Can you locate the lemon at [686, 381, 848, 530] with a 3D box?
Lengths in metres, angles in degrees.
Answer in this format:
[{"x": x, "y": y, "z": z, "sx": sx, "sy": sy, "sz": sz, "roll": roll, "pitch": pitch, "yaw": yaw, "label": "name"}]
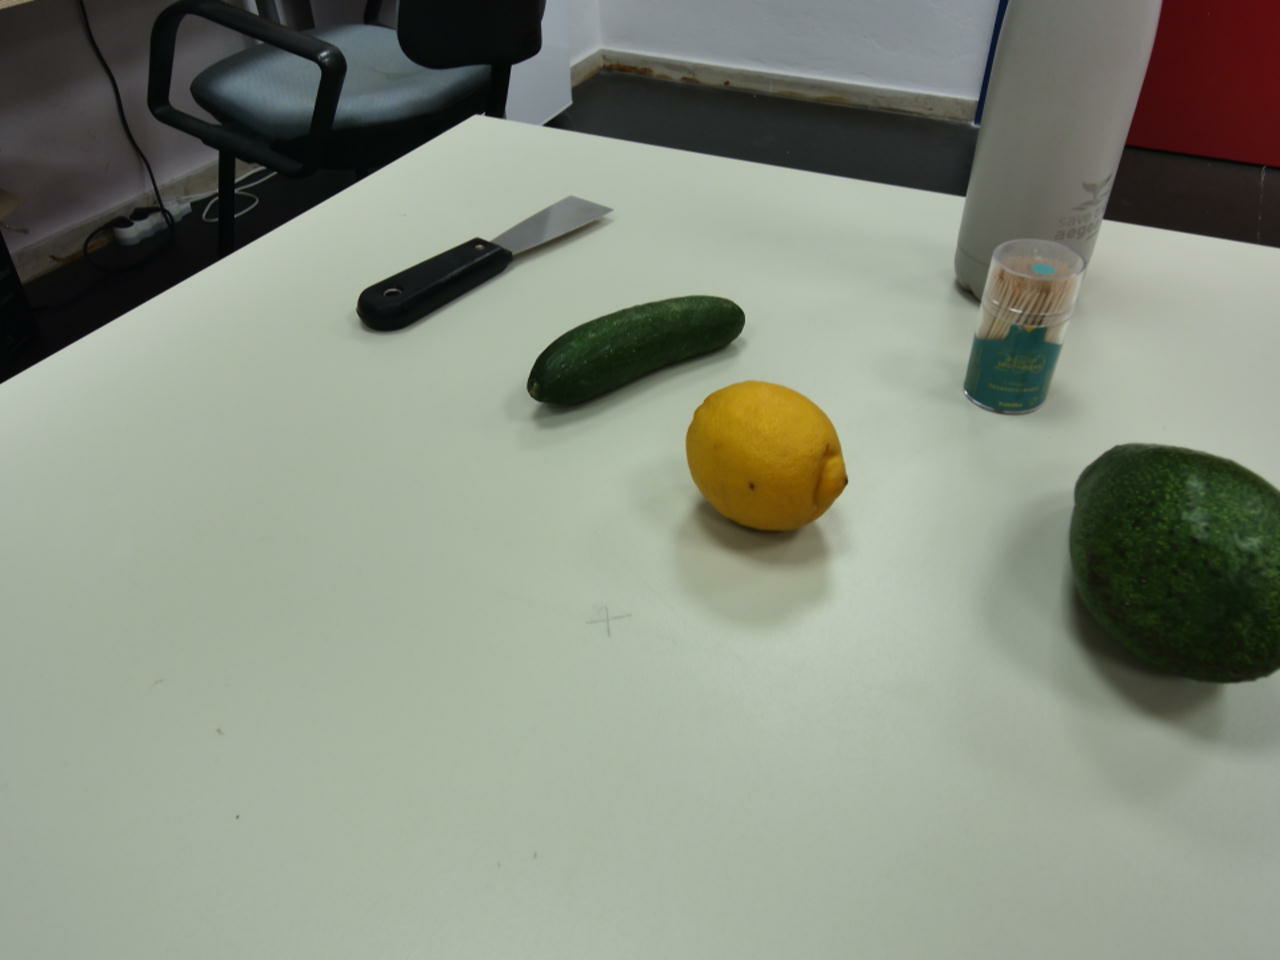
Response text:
[{"x": 0.052, "y": -0.010, "z": 0.417, "sx": 0.061, "sy": 0.059, "sz": 0.067, "roll": -13, "pitch": 39, "yaw": -16, "label": "lemon"}]
